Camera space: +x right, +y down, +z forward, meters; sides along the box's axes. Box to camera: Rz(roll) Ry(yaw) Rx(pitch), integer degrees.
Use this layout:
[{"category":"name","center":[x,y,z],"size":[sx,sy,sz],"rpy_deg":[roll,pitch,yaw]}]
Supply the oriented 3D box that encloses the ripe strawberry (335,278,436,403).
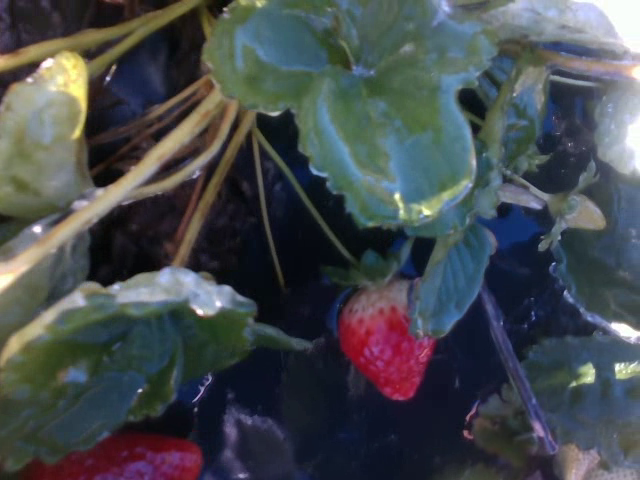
[{"category":"ripe strawberry","center":[0.026,0.034,0.209],"size":[0.039,0.047,0.040],"rpy_deg":[-24,28,-27]}]
